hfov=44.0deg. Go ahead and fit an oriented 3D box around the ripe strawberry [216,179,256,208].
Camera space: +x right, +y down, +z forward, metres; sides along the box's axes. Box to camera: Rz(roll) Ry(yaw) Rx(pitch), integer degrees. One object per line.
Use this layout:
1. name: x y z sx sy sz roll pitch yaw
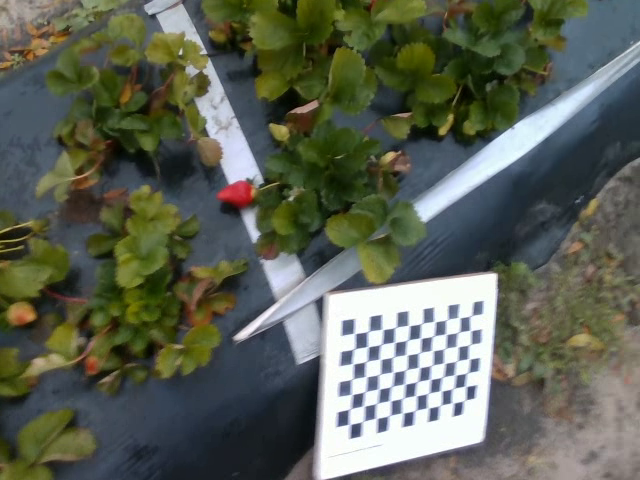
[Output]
1. ripe strawberry: -0.119 -0.066 1.004 0.051 0.042 0.037 -10 20 -24
